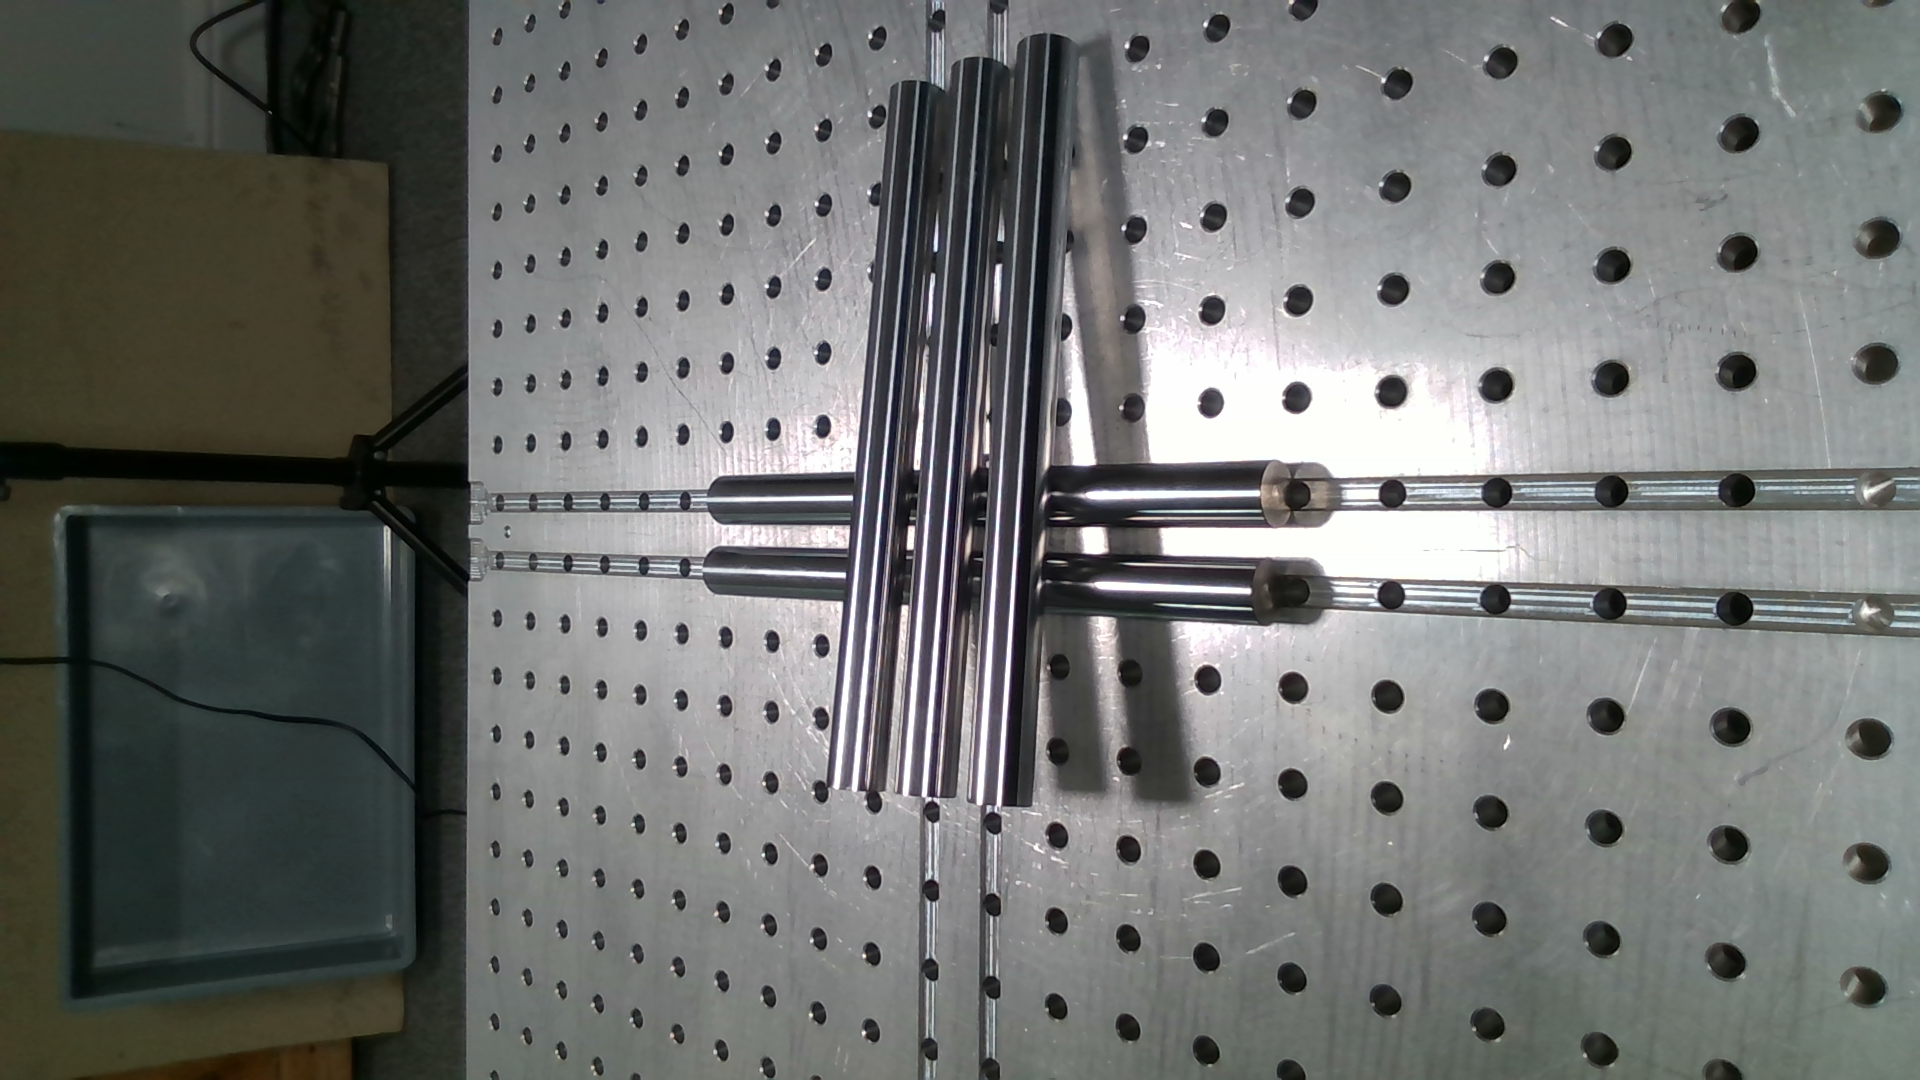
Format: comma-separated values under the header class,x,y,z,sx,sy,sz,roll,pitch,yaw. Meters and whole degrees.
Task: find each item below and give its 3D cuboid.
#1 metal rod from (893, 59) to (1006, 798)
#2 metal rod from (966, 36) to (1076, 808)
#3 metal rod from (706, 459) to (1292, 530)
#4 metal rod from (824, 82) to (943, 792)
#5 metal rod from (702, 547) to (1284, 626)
class,x,y,z,sx,sy,sz,roll,pitch,yaw
metal rod,-0.003,-0.048,0.560,0.025,0.025,0.300,-1,81,40
metal rod,0.025,-0.049,0.537,0.025,0.025,0.300,-2,81,40
metal rod,-0.002,-0.018,0.587,0.300,0.025,0.025,1,91,40
metal rod,-0.031,-0.046,0.583,0.025,0.025,0.300,-1,81,40
metal rod,-0.005,0.017,0.589,0.300,0.025,0.025,1,91,40
